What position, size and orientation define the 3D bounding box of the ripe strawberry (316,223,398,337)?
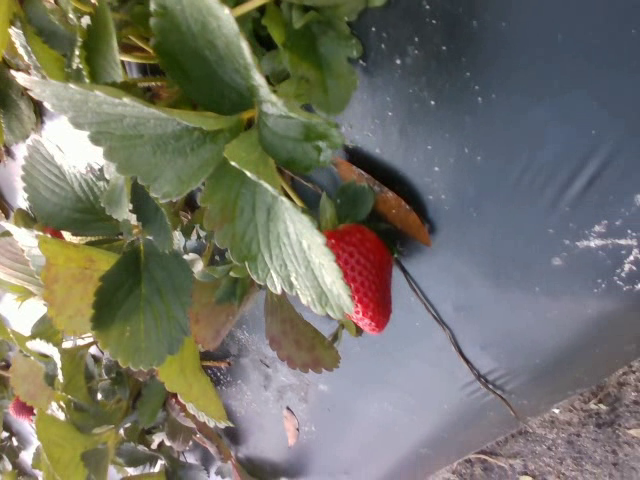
[{"bbox_3d":[0.017,0.022,0.278,0.049,0.053,0.050,-12,-28,-29],"label":"ripe strawberry"}]
